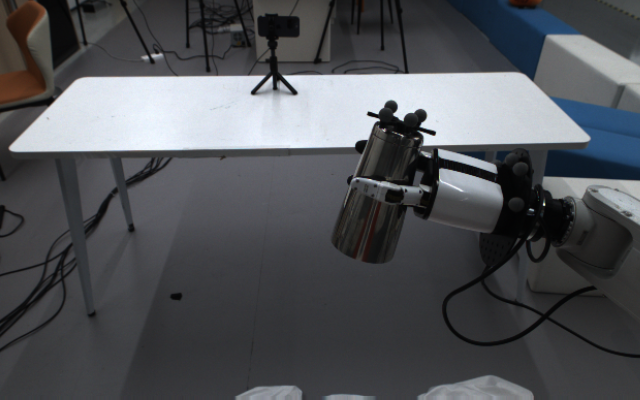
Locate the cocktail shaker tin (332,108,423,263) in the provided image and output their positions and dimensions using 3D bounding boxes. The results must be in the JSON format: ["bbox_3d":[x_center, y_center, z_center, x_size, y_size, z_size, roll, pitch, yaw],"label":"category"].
[{"bbox_3d":[0.081,-0.013,0.643,0.093,0.170,0.093,13,22,-5],"label":"cocktail shaker tin"}]
